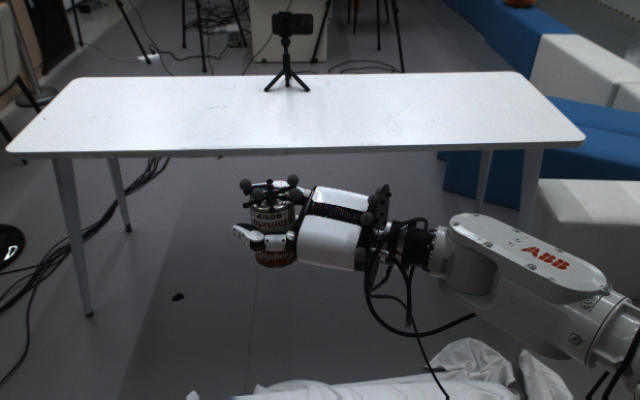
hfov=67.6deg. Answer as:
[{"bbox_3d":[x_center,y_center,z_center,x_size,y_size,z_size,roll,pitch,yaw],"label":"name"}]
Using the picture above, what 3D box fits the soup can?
[{"bbox_3d":[-0.067,0.040,0.716,0.067,0.101,0.067,-2,33,1],"label":"soup can"}]
